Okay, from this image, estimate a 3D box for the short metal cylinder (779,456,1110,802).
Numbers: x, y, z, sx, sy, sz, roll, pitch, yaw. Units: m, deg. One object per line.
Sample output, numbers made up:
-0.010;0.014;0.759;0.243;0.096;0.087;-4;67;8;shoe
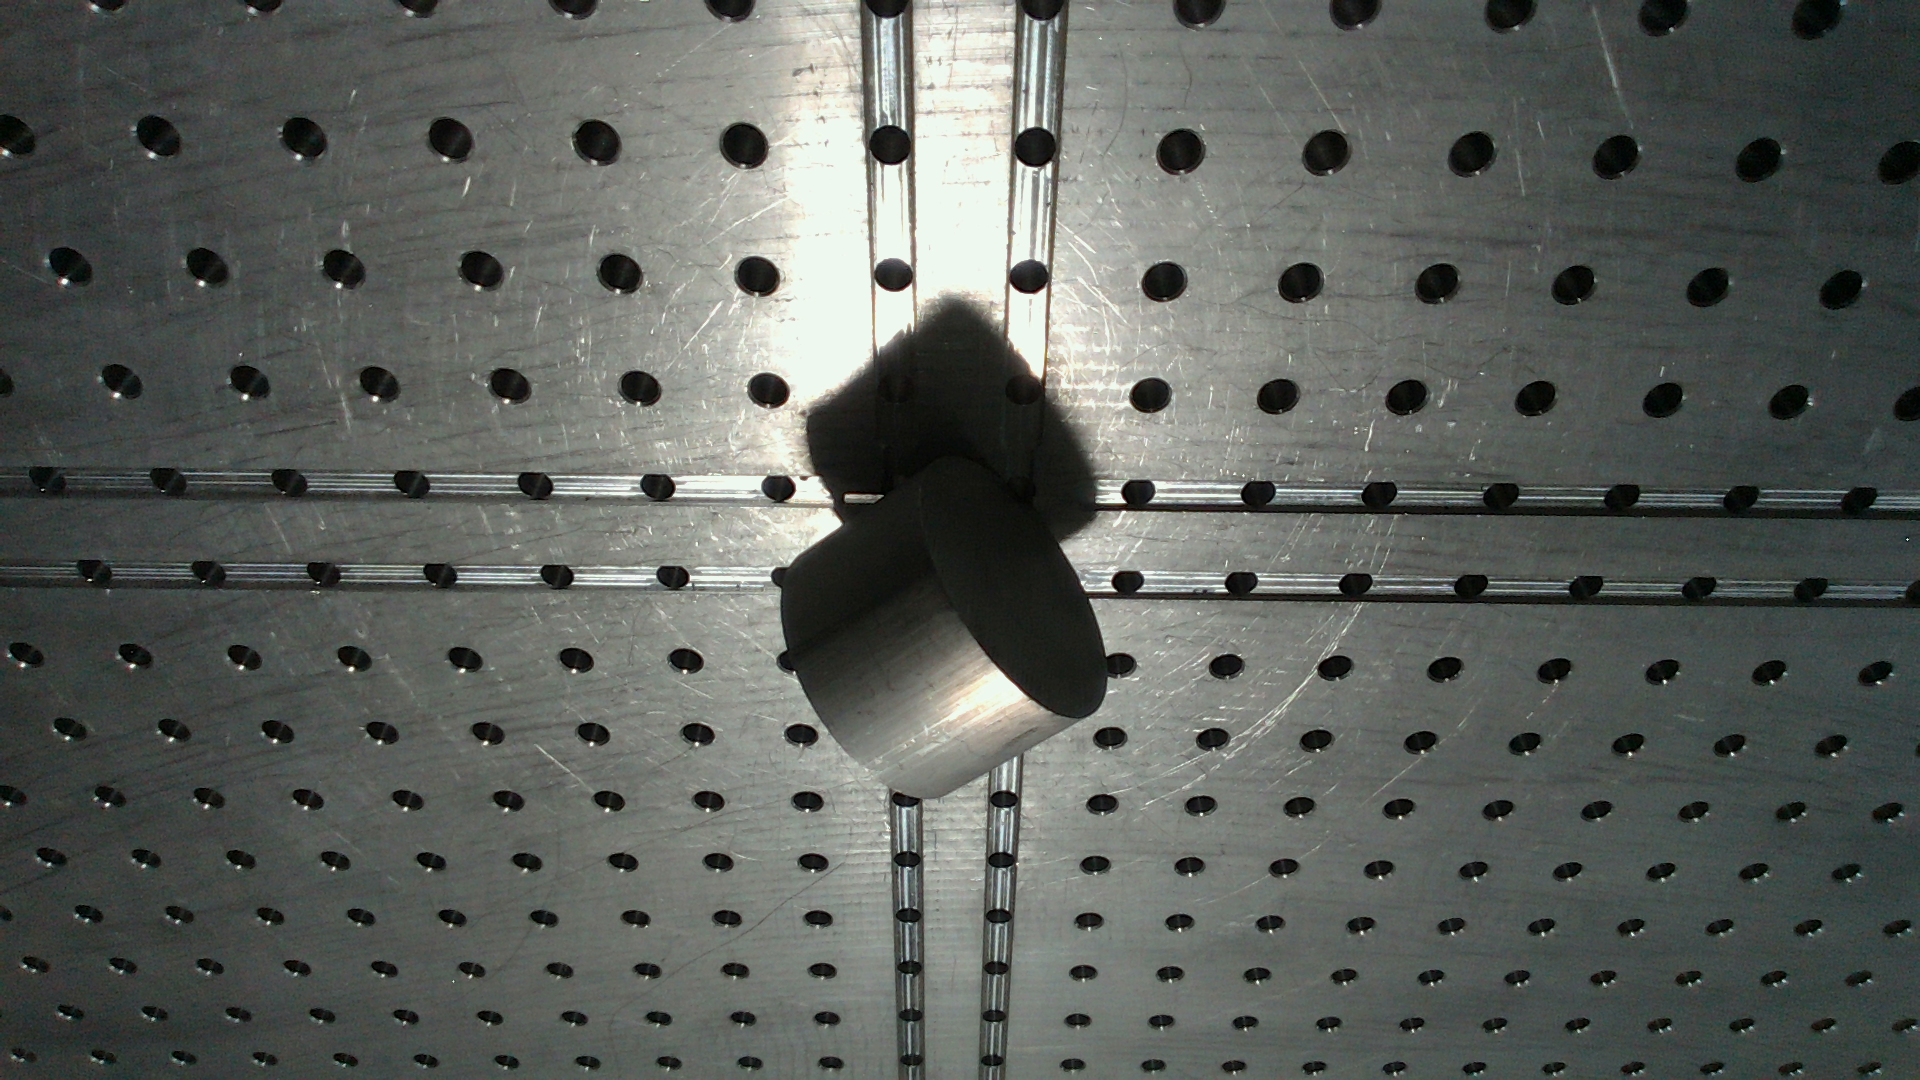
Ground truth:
-0.003;0.024;0.377;0.050;0.080;0.080;-33;123;25;short metal cylinder
